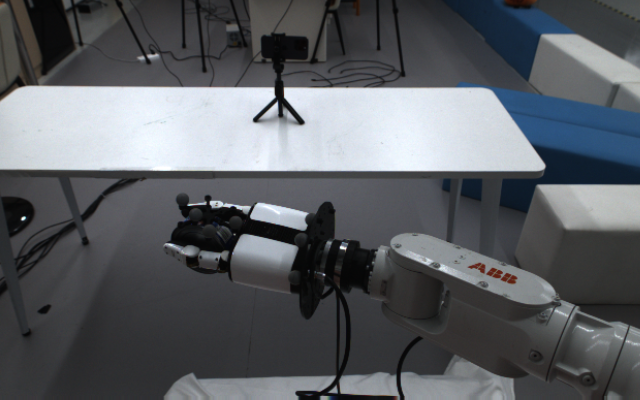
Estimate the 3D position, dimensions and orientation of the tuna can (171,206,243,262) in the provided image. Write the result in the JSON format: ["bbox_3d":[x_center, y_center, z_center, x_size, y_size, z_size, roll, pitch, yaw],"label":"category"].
[{"bbox_3d":[-0.159,0.060,0.677,0.085,0.085,0.034,12,33,14],"label":"tuna can"}]
